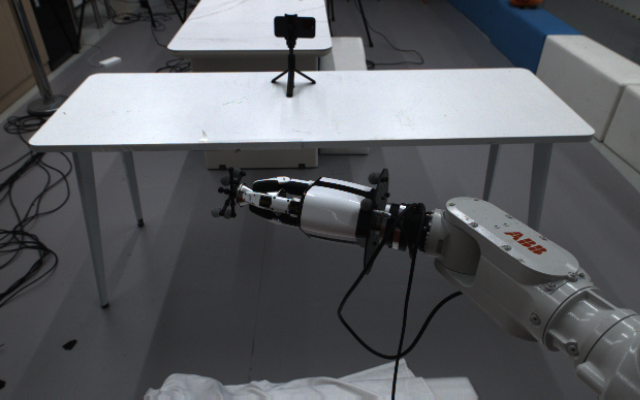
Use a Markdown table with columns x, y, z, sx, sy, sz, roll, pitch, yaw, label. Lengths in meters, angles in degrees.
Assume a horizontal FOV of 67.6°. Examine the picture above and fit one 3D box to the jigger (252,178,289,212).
| x | y | z | sx | sy | sz | roll | pitch | yaw | label |
| --- | --- | --- | --- | --- | --- | --- | --- | --- | --- |
| -0.087 | -0.006 | 0.758 | 0.071 | 0.043 | 0.043 | 10 | 35 | 16 | jigger |
